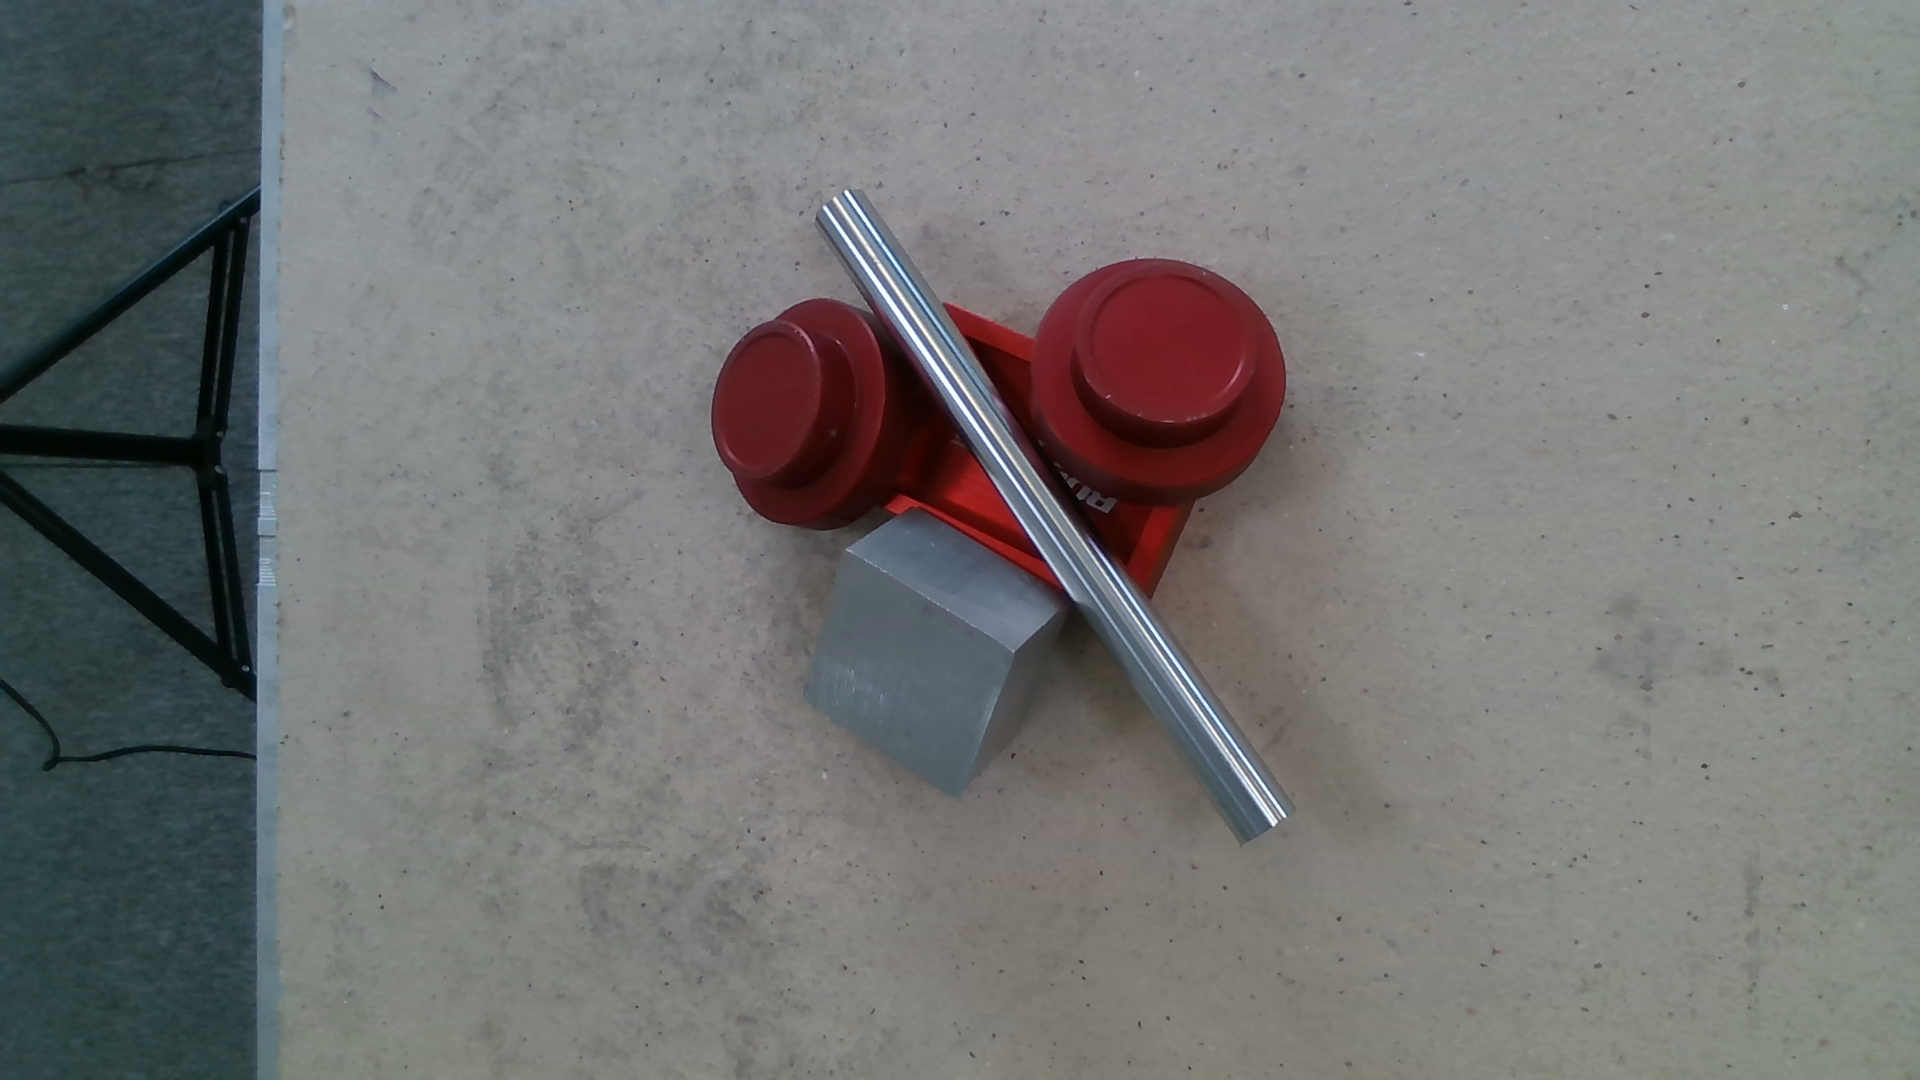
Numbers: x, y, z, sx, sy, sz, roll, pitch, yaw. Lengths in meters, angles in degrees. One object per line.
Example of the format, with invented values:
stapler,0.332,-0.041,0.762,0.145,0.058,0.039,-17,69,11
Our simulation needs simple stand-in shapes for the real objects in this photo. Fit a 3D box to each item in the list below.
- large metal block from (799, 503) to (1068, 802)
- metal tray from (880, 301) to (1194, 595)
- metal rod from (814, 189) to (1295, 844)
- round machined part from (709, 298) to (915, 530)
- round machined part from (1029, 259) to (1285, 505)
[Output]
large metal block,-0.011,0.045,0.562,0.080,0.050,0.080,31,125,17
metal tray,0.032,-0.034,0.571,0.130,0.030,0.090,26,99,18
metal rod,0.032,-0.015,0.543,0.025,0.025,0.300,-37,78,17
round machined part,-0.069,-0.055,0.584,0.098,0.042,0.098,-8,78,40
round machined part,0.076,-0.066,0.527,0.098,0.042,0.098,0,70,0
